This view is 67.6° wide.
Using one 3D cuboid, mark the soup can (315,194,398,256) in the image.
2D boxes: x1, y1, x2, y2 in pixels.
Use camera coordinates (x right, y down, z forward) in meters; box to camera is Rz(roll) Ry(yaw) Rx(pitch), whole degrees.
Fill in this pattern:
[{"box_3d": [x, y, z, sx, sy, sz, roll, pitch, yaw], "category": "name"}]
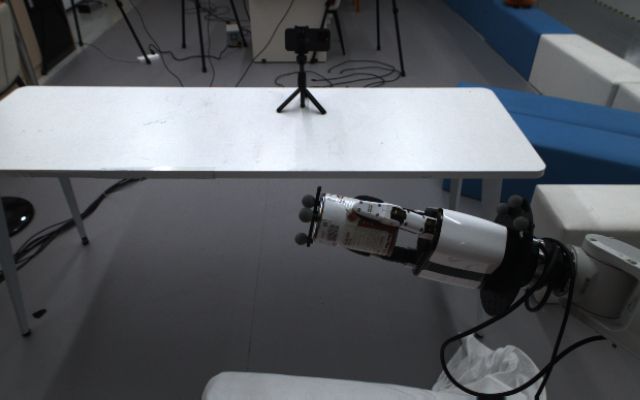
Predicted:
[{"box_3d": [0.049, 0.031, 0.634, 0.101, 0.067, 0.067, 11, 35, -2], "category": "soup can"}]
